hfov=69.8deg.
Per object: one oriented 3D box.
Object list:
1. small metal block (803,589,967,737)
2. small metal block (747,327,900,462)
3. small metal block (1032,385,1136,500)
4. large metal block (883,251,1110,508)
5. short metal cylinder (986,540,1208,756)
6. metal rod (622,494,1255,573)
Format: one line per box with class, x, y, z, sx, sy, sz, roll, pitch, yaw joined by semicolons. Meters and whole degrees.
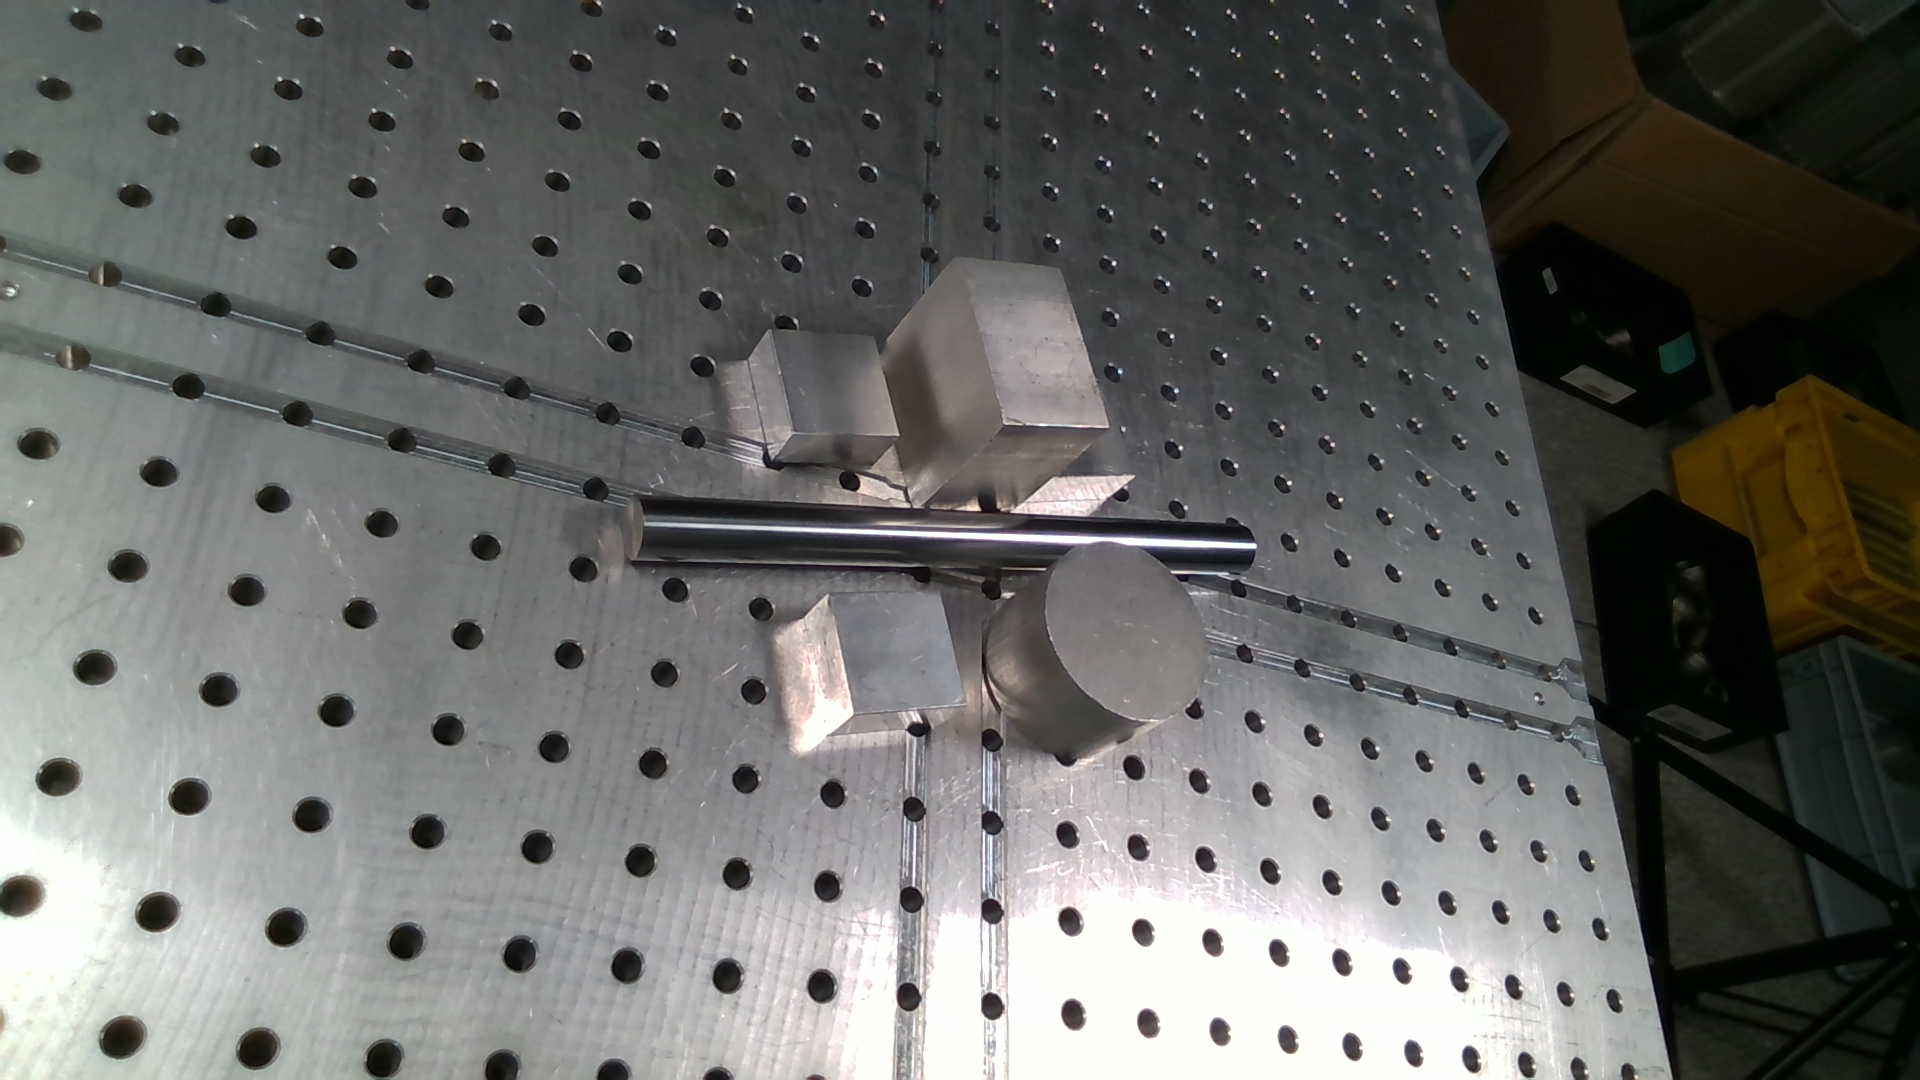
small metal block;-0.030;0.048;0.545;0.050;0.025;0.050;-1;66;-32
small metal block;-0.058;-0.061;0.586;0.050;0.025;0.050;-2;66;-32
small metal block;0.048;-0.046;0.644;0.050;0.025;0.050;-3;67;-33
large metal block;0.012;-0.066;0.594;0.050;0.080;0.080;-1;66;-32
short metal cylinder;0.057;0.047;0.583;0.080;0.050;0.080;14;59;-25
metal rod;0.006;0.000;0.592;0.300;0.025;0.025;2;64;-31
